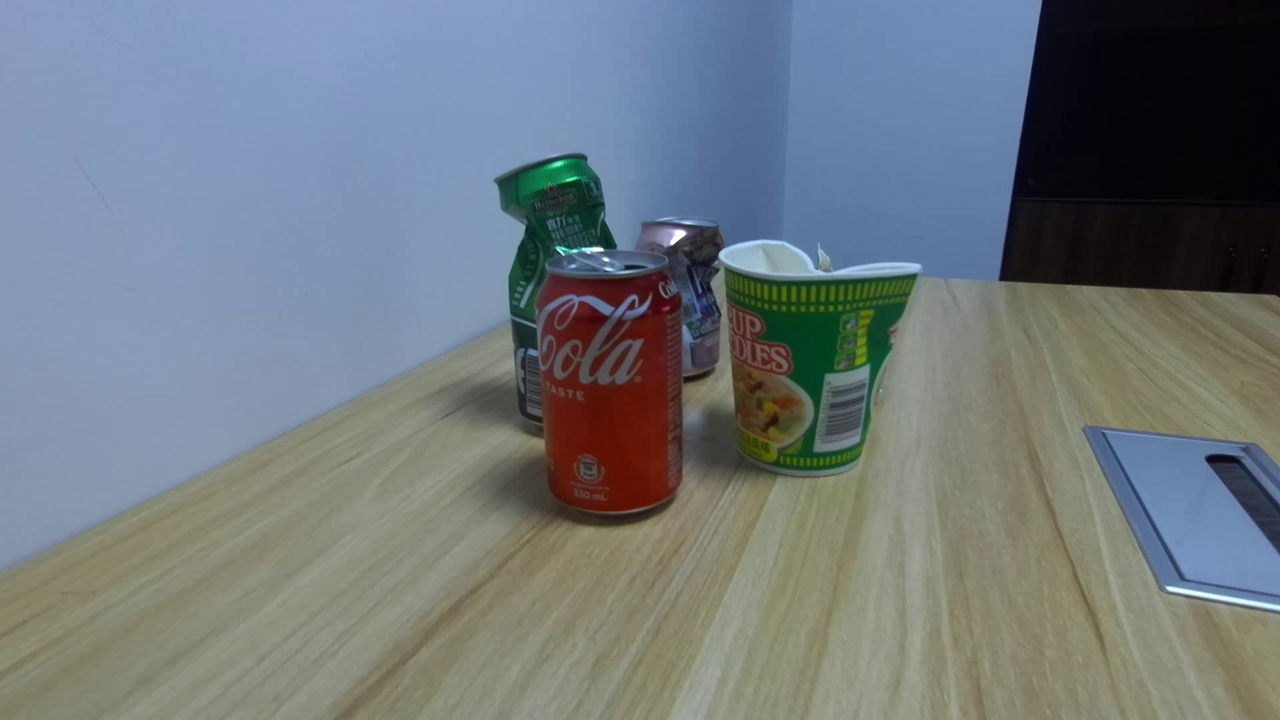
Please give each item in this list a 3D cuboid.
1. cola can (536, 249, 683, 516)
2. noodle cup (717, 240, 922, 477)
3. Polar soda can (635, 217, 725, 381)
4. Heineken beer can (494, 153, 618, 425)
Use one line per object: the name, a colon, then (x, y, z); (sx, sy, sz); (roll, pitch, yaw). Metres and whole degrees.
cola can: (-0.013, 0.012, 0.341); (0.068, 0.120, 0.068); (-2, 15, 1)
noodle cup: (0.082, -0.001, 0.371); (0.087, 0.109, 0.093); (-8, 20, -18)
Polar soda can: (0.029, -0.043, 0.477); (0.070, 0.114, 0.074); (1, 22, 2)
Heineken beer can: (-0.041, -0.036, 0.412); (0.078, 0.159, 0.067); (-2, 11, 23)
